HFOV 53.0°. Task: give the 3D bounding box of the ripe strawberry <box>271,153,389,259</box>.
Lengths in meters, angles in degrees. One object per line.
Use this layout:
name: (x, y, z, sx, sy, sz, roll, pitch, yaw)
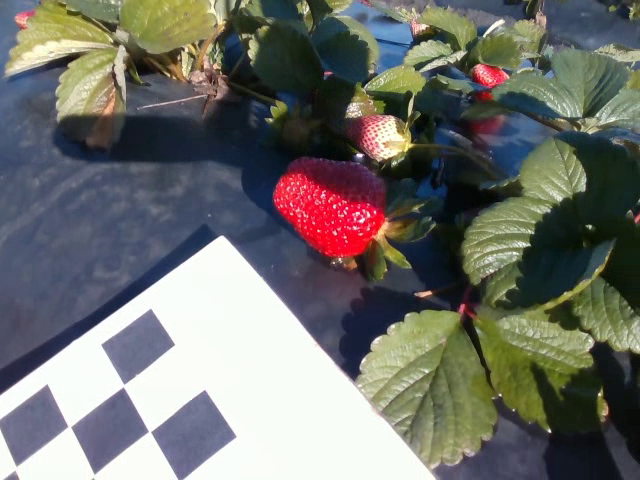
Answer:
ripe strawberry: (0.003, -0.017, 0.290, 0.058, 0.066, 0.061, -21, -40, 37)
